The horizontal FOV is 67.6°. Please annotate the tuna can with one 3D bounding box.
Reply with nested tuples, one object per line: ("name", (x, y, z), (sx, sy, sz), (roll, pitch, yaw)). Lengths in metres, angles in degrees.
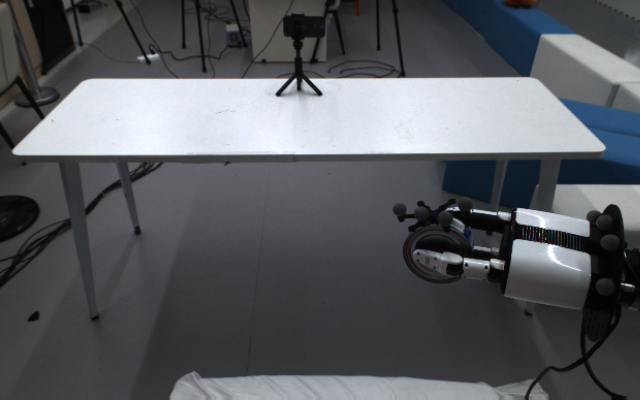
("tuna can", (0.153, 0.060, 0.614), (0.085, 0.085, 0.034), (13, 29, 15))
